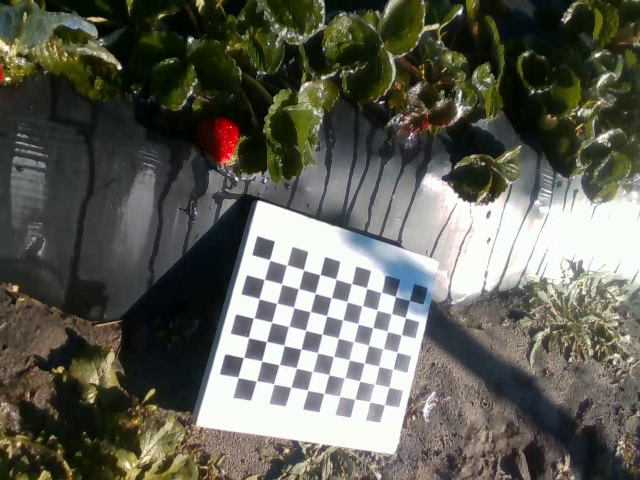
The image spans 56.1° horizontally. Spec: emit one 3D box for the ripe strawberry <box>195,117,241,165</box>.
[{"bbox_3d":[-0.091,-0.089,0.538,0.041,0.053,0.047,10,-42,-27],"label":"ripe strawberry"}]
